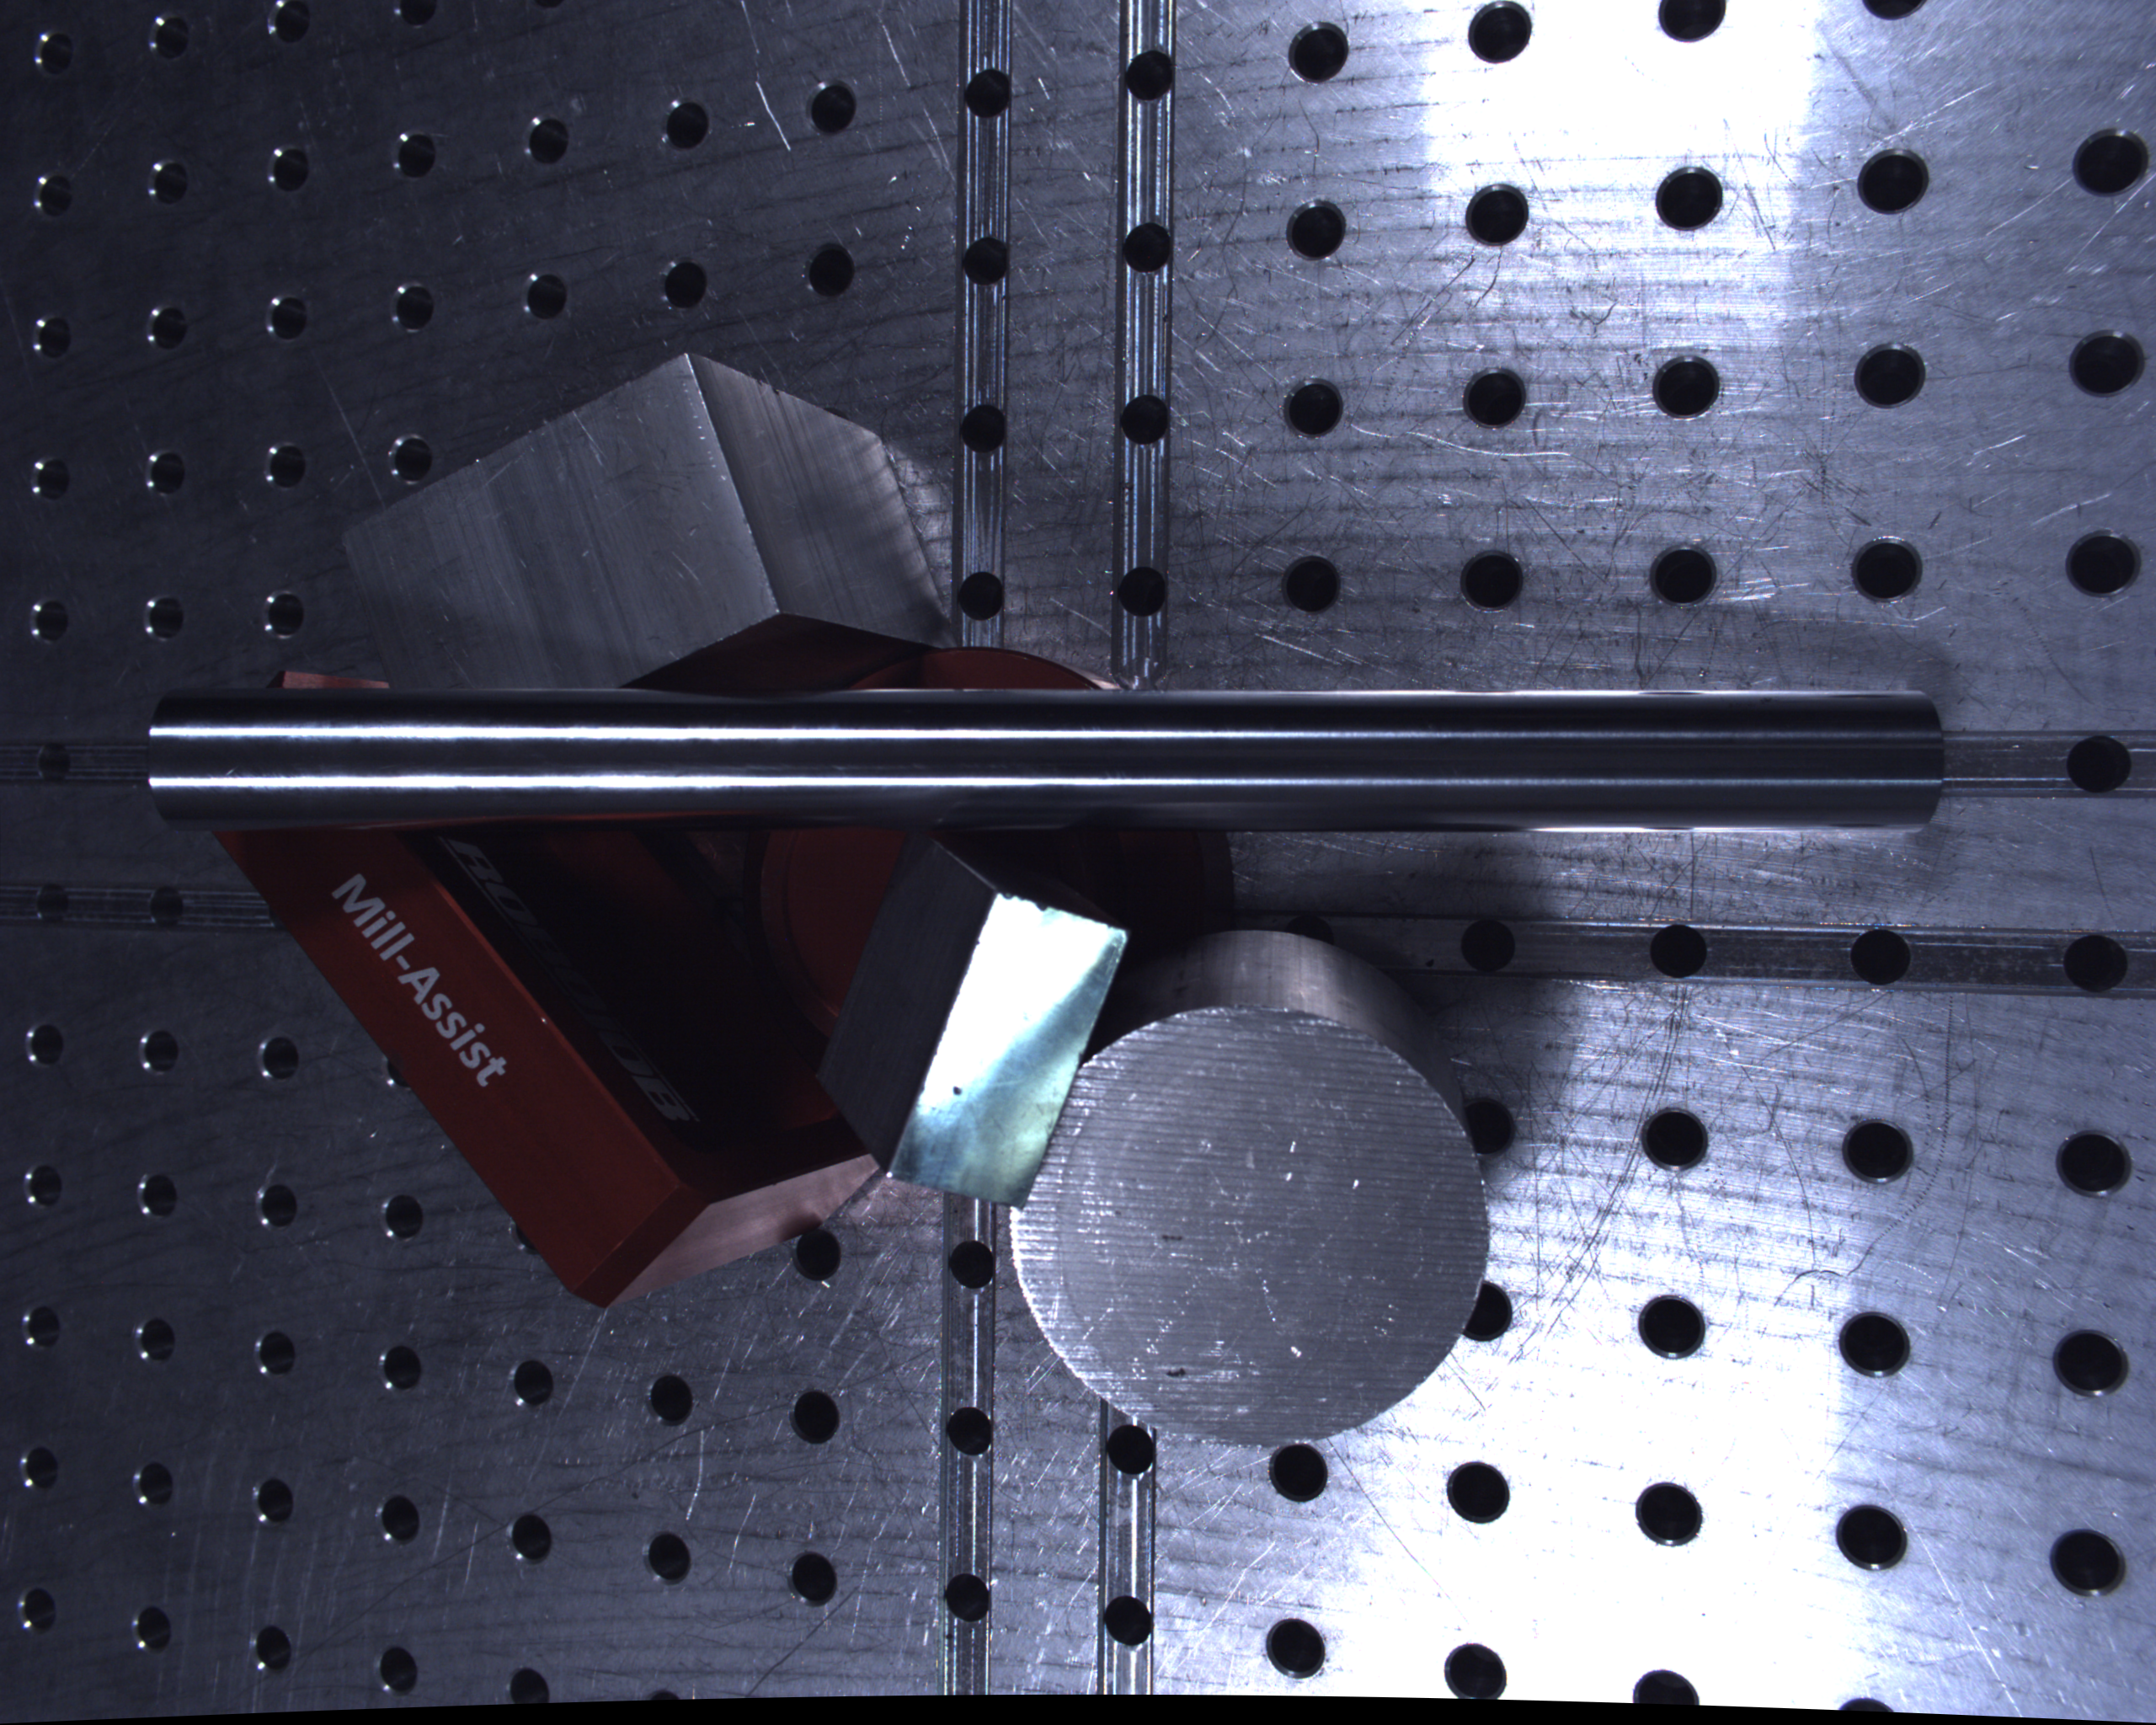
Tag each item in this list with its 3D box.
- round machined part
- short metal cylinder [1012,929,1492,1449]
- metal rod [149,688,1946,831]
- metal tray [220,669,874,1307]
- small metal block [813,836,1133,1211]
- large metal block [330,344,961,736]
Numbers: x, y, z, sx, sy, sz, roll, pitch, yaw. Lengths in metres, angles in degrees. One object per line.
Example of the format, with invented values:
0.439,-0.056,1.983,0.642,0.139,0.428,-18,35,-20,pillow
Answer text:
-0.021,0.006,0.413,0.098,0.042,0.097,0,90,19,round machined part
0.031,0.057,0.375,0.080,0.050,0.079,1,102,4,short metal cylinder
-0.005,-0.018,0.363,0.302,0.025,0.025,0,90,0,metal rod
-0.102,0.021,0.412,0.030,0.090,0.130,-45,76,14,metal tray
-0.020,0.025,0.359,0.025,0.050,0.050,19,96,-24,small metal block
-0.081,-0.053,0.409,0.080,0.080,0.050,-22,83,18,large metal block
